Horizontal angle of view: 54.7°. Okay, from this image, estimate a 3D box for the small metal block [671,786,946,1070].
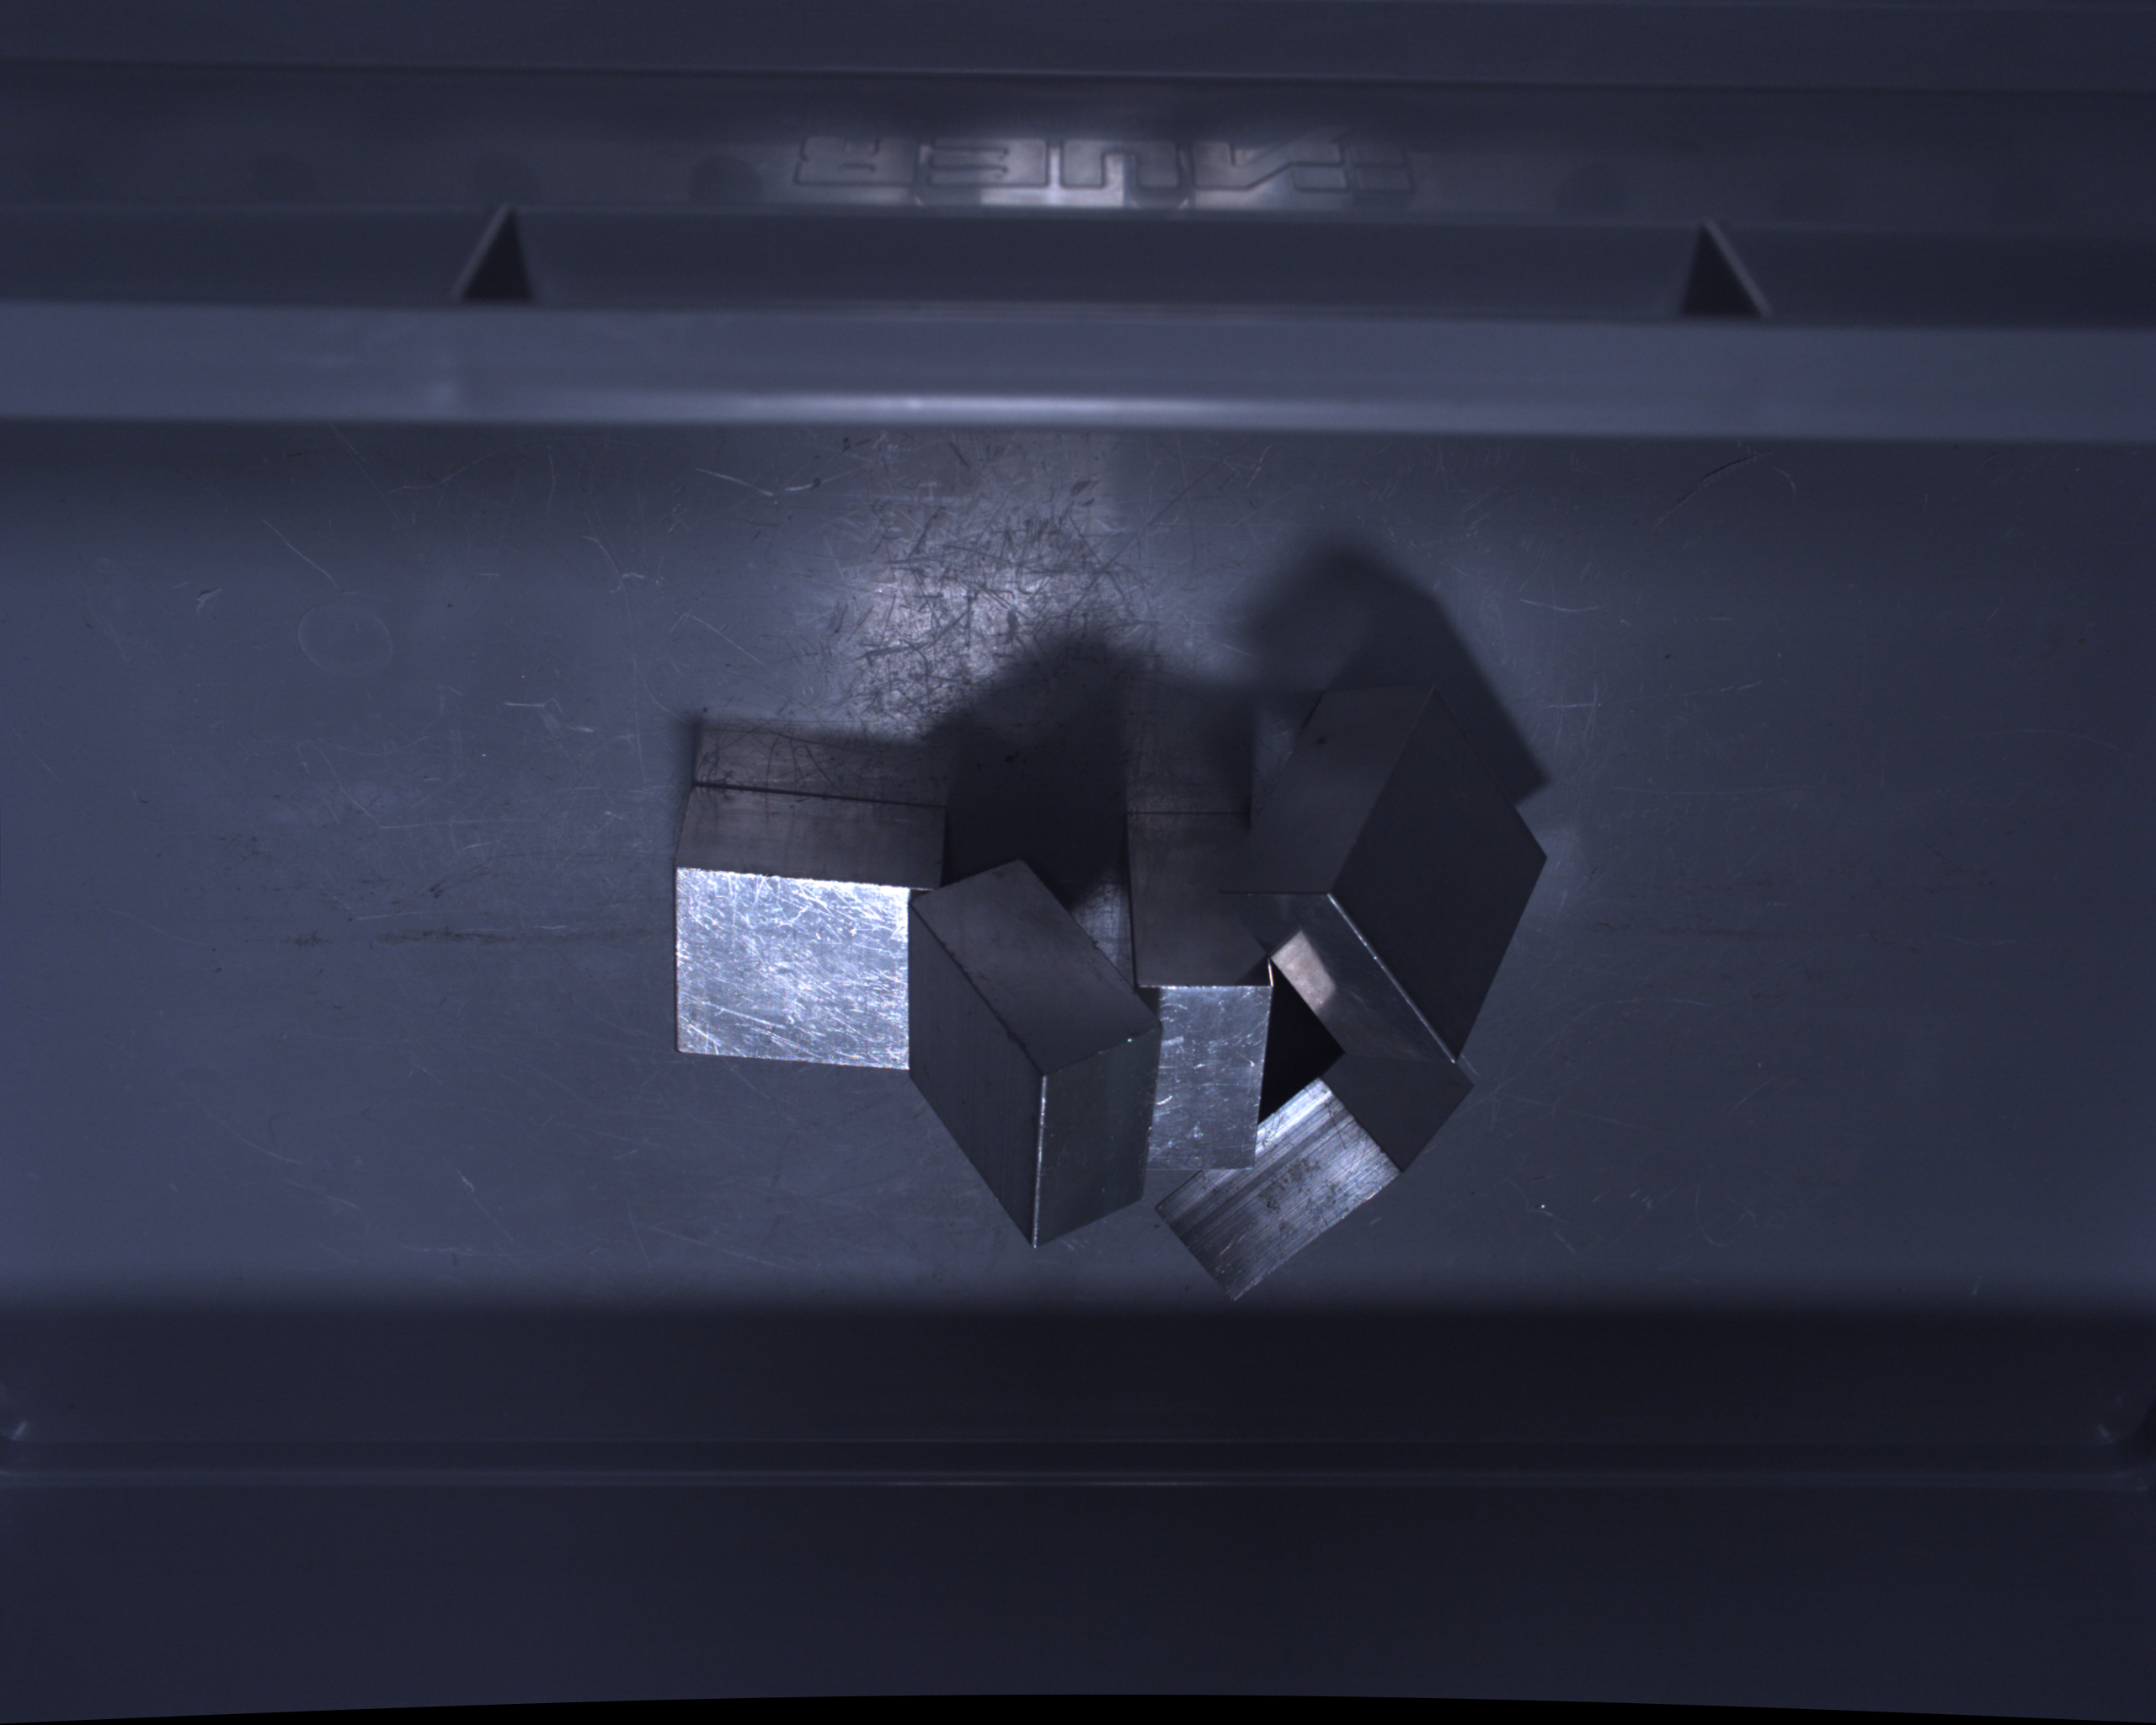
[{"bbox_3d":[-0.054,0.014,0.417,0.050,0.025,0.050,5,130,-5],"label":"small metal block"}]

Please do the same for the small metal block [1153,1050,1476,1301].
[{"bbox_3d":[0.050,0.059,0.439,0.025,0.050,0.050,50,120,6],"label":"small metal block"}]

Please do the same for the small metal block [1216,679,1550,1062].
[{"bbox_3d":[0.058,0.002,0.389,0.025,0.050,0.050,0,140,44],"label":"small metal block"}]

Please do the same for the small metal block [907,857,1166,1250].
[{"bbox_3d":[-0.009,0.036,0.397,0.025,0.050,0.050,-21,138,-24],"label":"small metal block"}]

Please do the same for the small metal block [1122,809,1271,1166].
[{"bbox_3d":[0.022,0.024,0.412,0.025,0.050,0.050,1,130,-1],"label":"small metal block"}]
